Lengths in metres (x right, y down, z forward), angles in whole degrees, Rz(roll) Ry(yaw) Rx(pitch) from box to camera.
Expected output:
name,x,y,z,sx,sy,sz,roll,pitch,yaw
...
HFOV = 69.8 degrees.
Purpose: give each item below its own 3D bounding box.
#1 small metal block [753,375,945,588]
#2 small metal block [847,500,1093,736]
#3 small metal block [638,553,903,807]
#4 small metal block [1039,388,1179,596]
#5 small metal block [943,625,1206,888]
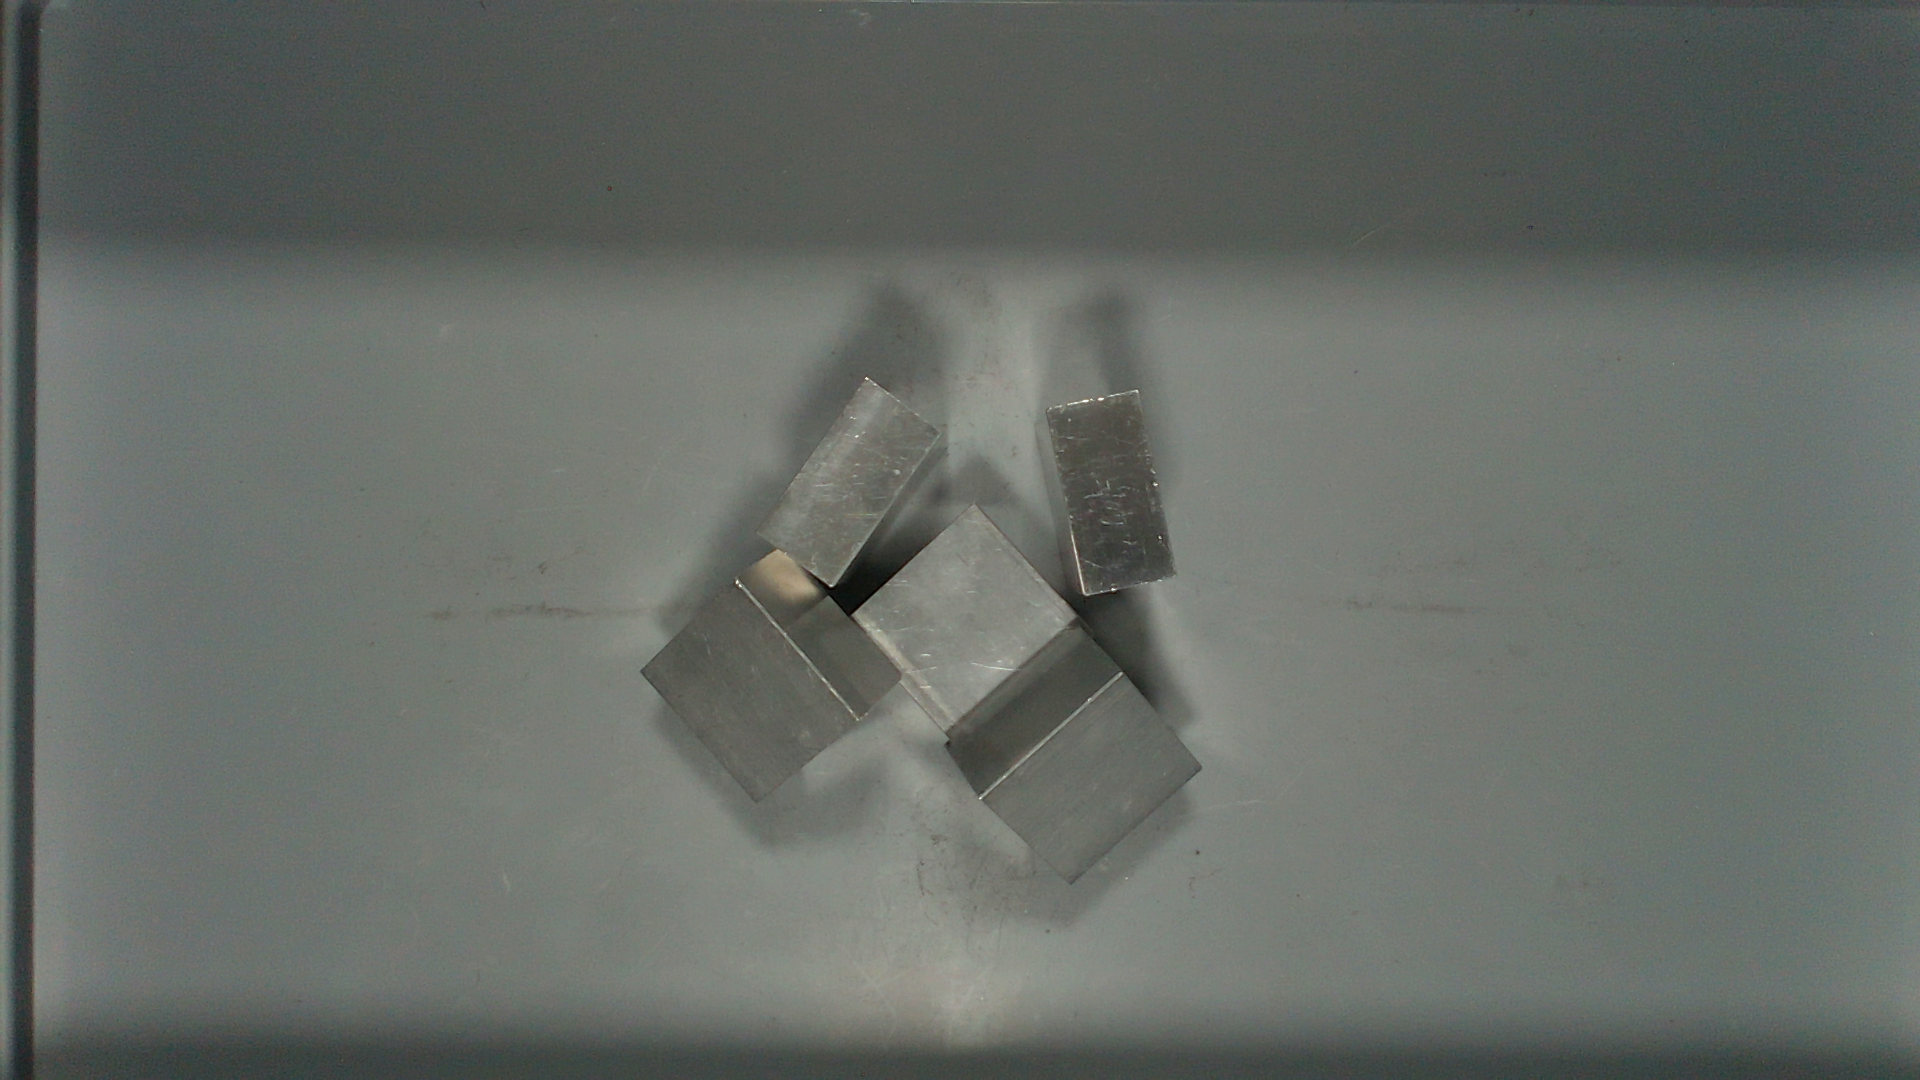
name,x,y,z,sx,sy,sz,roll,pitch,yaw
small metal block,-0.029,-0.015,0.381,0.025,0.050,0.050,36,90,0
small metal block,0.002,0.024,0.394,0.050,0.025,0.050,-42,90,0
small metal block,-0.053,0.038,0.383,0.050,0.025,0.050,49,123,0
small metal block,0.039,-0.012,0.381,0.025,0.050,0.050,-11,90,-1
small metal block,0.032,0.061,0.382,0.050,0.025,0.050,-41,127,0
